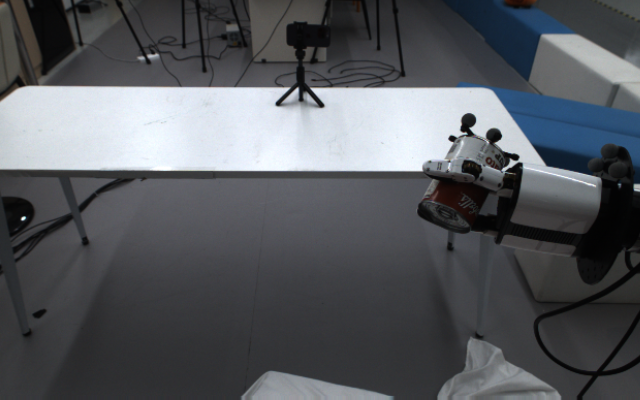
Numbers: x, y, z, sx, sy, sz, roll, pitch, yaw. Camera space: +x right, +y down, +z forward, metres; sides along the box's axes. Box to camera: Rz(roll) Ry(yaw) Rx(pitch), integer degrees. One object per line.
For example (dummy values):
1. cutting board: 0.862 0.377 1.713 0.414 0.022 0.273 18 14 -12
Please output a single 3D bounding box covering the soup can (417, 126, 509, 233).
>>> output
1. soup can: 0.174 -0.020 0.585 0.067 0.067 0.101 24 73 28
